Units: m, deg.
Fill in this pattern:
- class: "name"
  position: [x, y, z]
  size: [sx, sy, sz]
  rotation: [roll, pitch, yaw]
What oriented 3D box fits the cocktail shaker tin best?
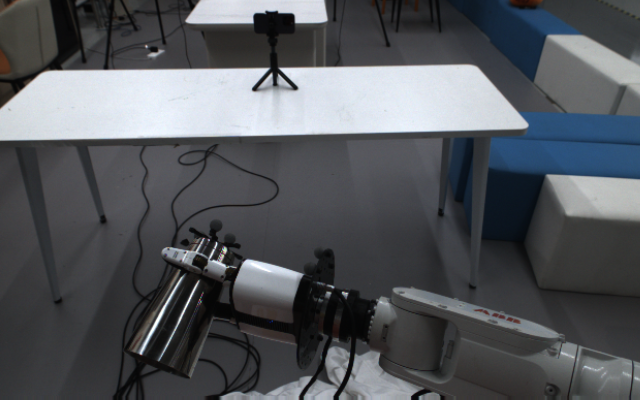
- class: "cocktail shaker tin"
  position: [-0.181, 0.139, 0.651]
  size: [0.093, 0.093, 0.170]
  rotation: [14, 59, 16]
